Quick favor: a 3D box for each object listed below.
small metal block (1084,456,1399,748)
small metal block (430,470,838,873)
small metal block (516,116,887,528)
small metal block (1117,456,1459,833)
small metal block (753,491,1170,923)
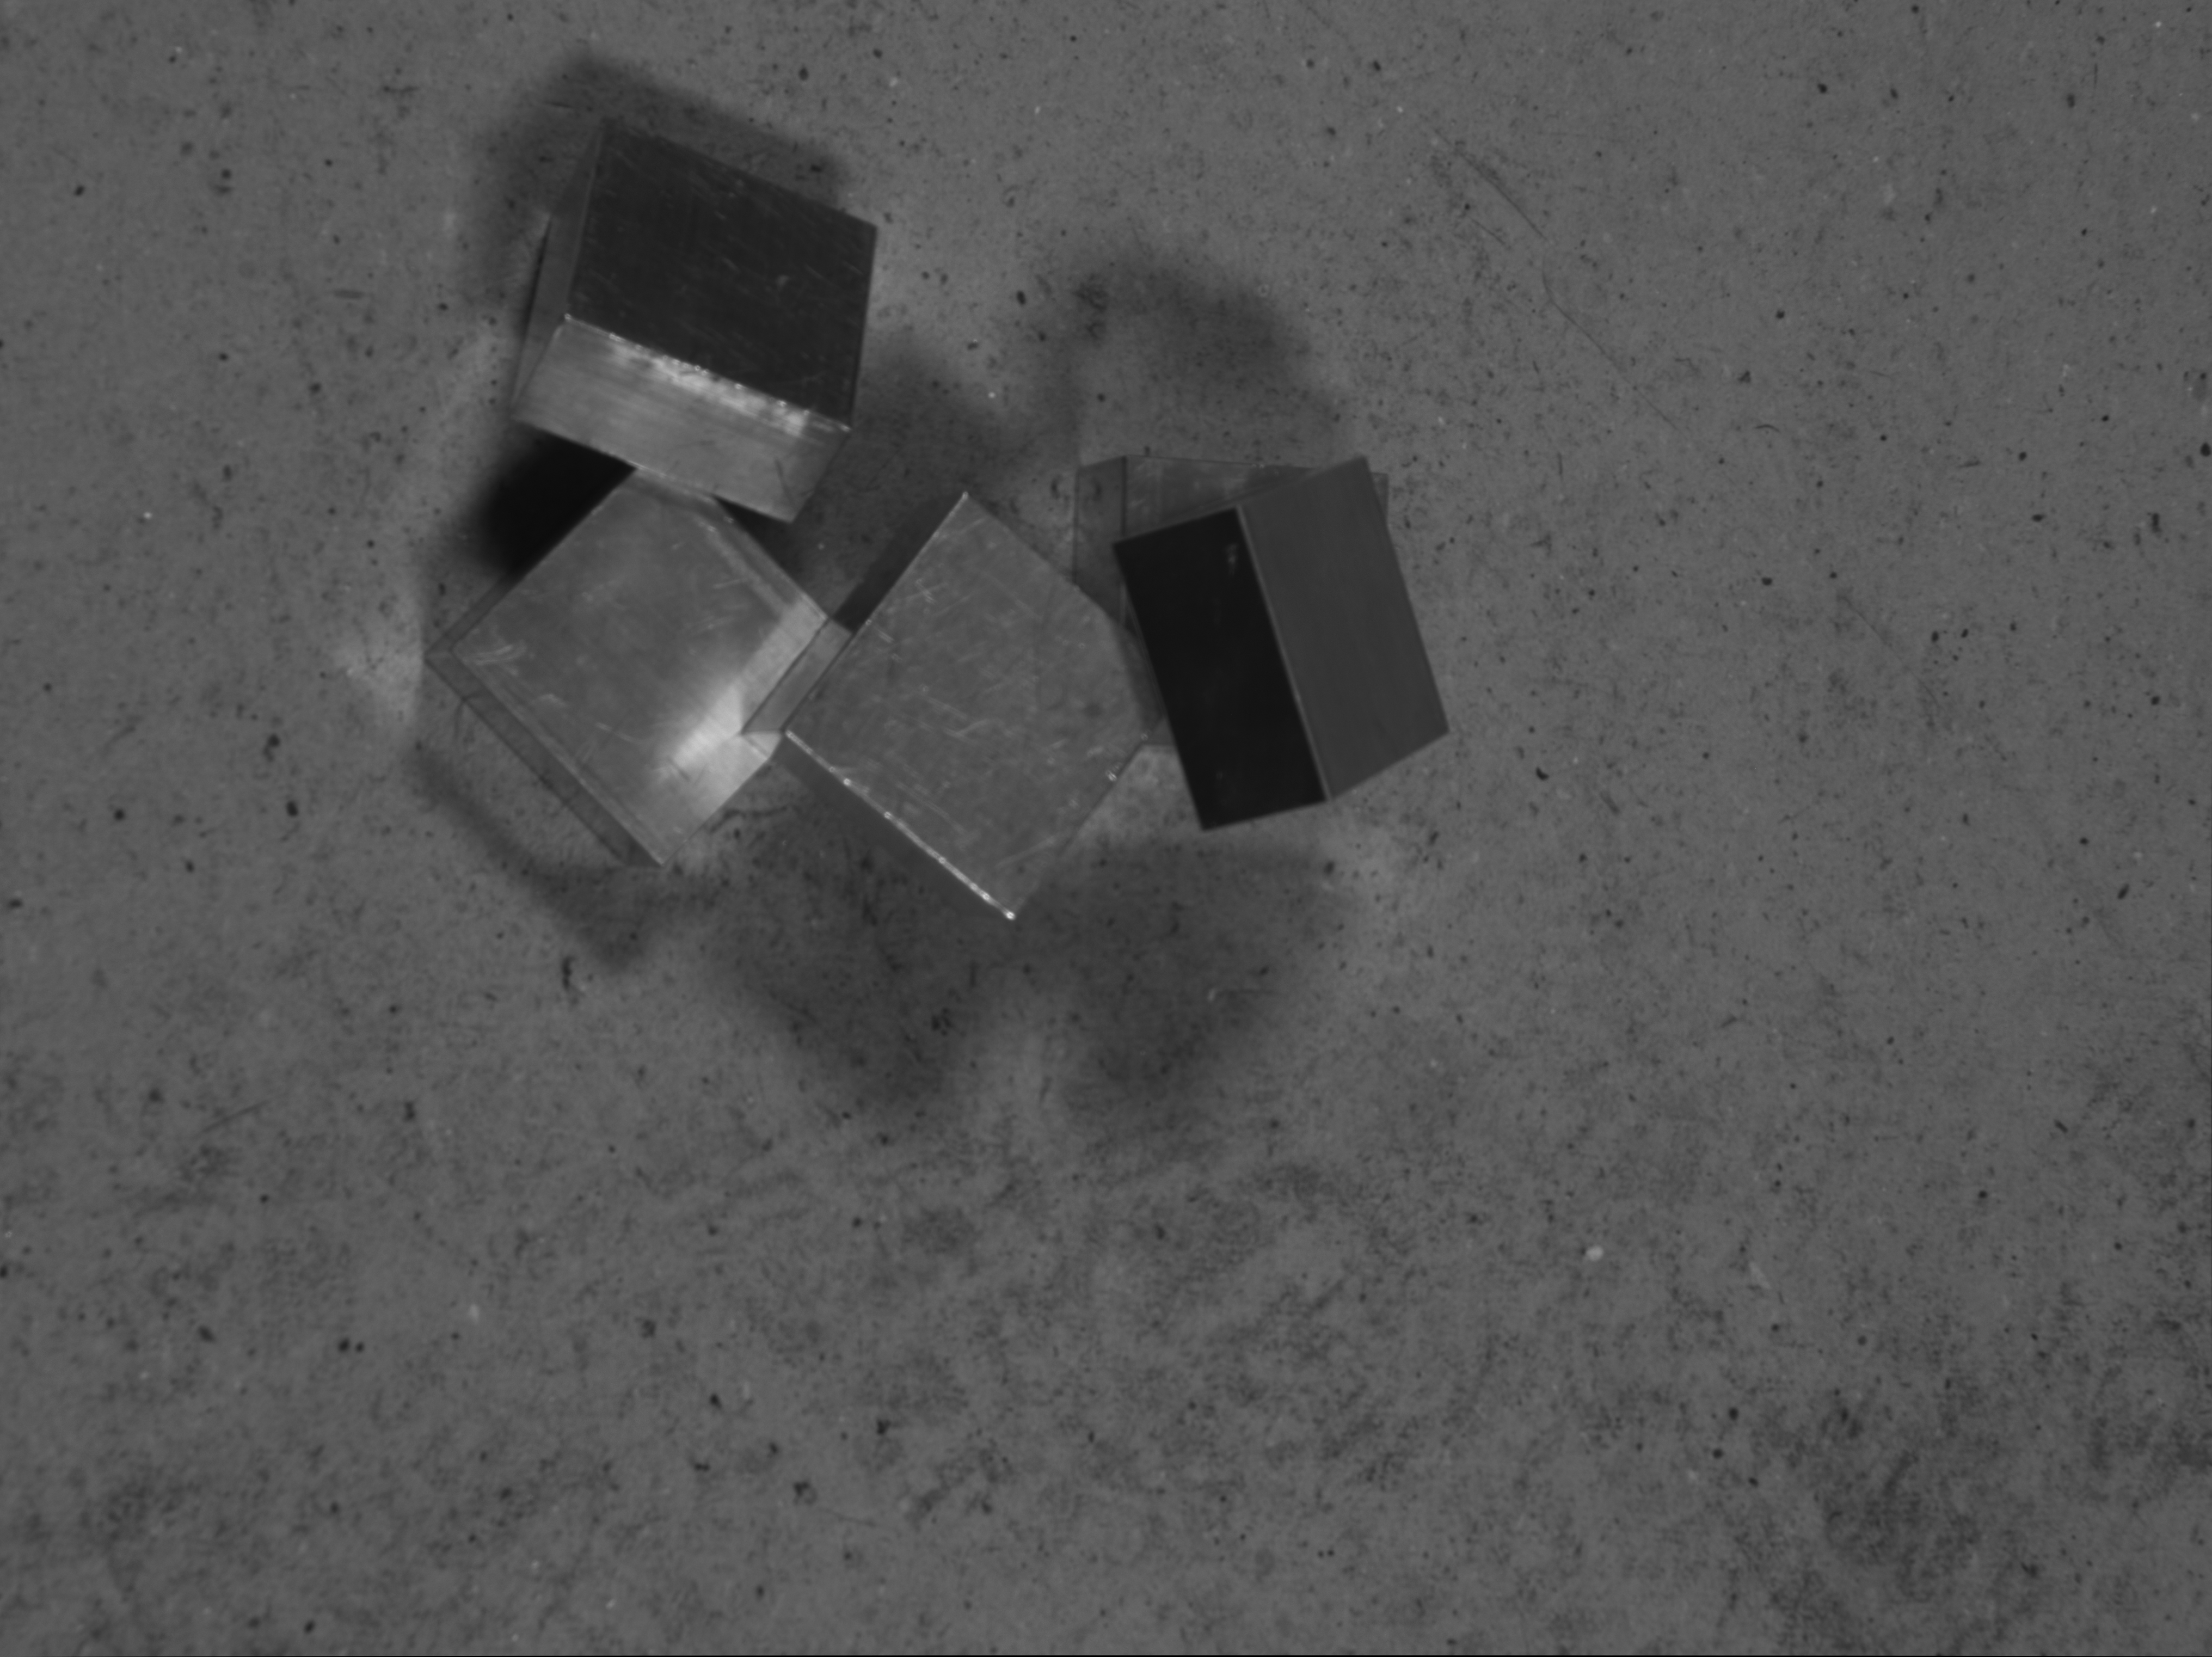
[{"bbox_3d":[0.023,-0.038,0.652,0.050,0.025,0.050,2,89,-20],"label":"small metal block"},{"bbox_3d":[-0.076,-0.028,0.615,0.050,0.025,0.050,-46,104,-14],"label":"small metal block"},{"bbox_3d":[-0.066,-0.084,0.607,0.050,0.025,0.050,20,47,-19],"label":"small metal block"},{"bbox_3d":[0.031,-0.032,0.615,0.050,0.025,0.050,-27,102,-58],"label":"small metal block"},{"bbox_3d":[-0.021,-0.020,0.608,0.050,0.025,0.050,40,77,-16],"label":"small metal block"}]
